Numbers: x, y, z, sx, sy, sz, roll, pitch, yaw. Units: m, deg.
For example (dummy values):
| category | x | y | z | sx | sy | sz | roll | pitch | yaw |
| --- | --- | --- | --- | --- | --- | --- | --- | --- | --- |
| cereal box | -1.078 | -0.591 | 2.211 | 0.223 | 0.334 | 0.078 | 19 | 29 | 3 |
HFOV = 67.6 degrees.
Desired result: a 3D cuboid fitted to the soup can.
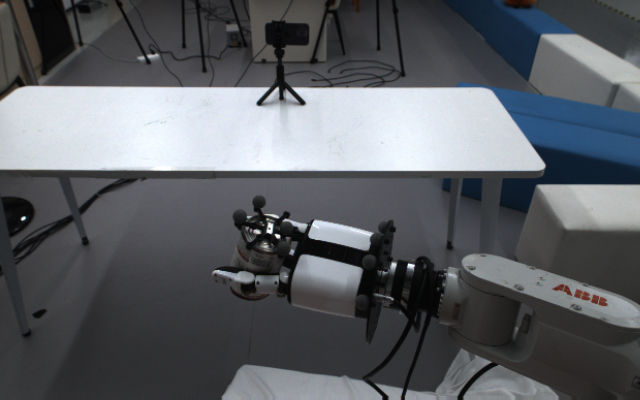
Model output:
| category | x | y | z | sx | sy | sz | roll | pitch | yaw |
| --- | --- | --- | --- | --- | --- | --- | --- | --- | --- |
| soup can | -0.081 | 0.078 | 0.646 | 0.067 | 0.101 | 0.067 | 14 | 40 | -12 |
